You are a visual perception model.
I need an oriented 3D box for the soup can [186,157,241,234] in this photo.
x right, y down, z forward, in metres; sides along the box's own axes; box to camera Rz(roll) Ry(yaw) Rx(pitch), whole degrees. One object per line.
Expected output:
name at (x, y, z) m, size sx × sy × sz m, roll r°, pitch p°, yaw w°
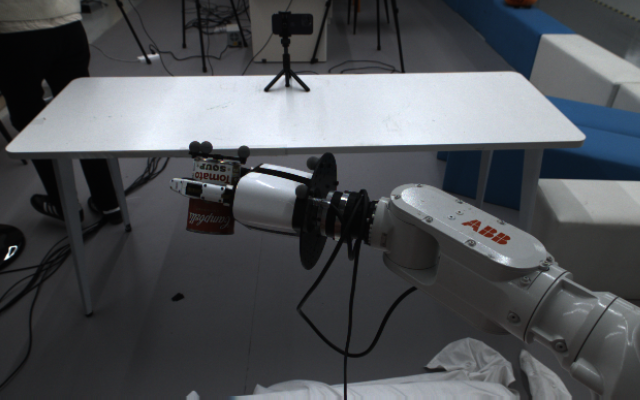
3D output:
soup can at (-0.149, -0.005, 0.681) m, size 0.067 × 0.101 × 0.067 m, roll 7°, pitch 3°, yaw 0°
